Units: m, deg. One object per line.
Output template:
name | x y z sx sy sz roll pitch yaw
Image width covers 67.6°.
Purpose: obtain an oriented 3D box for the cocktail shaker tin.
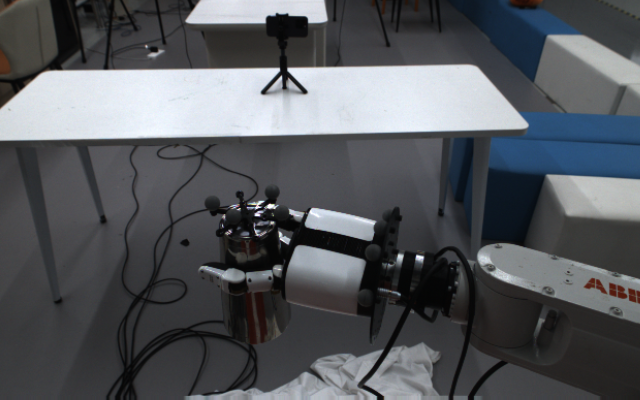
cocktail shaker tin | -0.079 0.088 0.605 0.093 0.170 0.093 1 39 0
